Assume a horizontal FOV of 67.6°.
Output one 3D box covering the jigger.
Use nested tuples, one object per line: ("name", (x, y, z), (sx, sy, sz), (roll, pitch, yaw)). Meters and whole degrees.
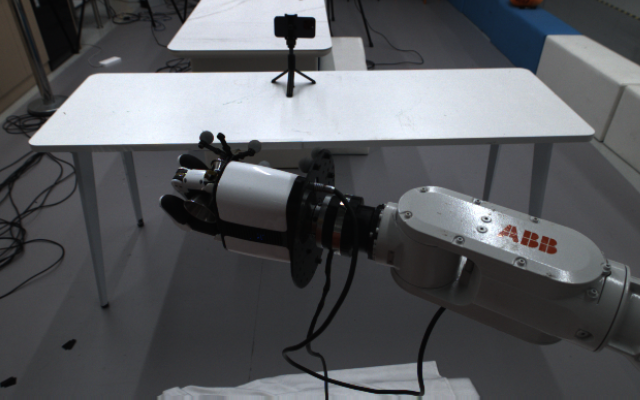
("jigger", (-0.126, -0.011, 0.585), (0.043, 0.043, 0.071), (13, 58, 16))
